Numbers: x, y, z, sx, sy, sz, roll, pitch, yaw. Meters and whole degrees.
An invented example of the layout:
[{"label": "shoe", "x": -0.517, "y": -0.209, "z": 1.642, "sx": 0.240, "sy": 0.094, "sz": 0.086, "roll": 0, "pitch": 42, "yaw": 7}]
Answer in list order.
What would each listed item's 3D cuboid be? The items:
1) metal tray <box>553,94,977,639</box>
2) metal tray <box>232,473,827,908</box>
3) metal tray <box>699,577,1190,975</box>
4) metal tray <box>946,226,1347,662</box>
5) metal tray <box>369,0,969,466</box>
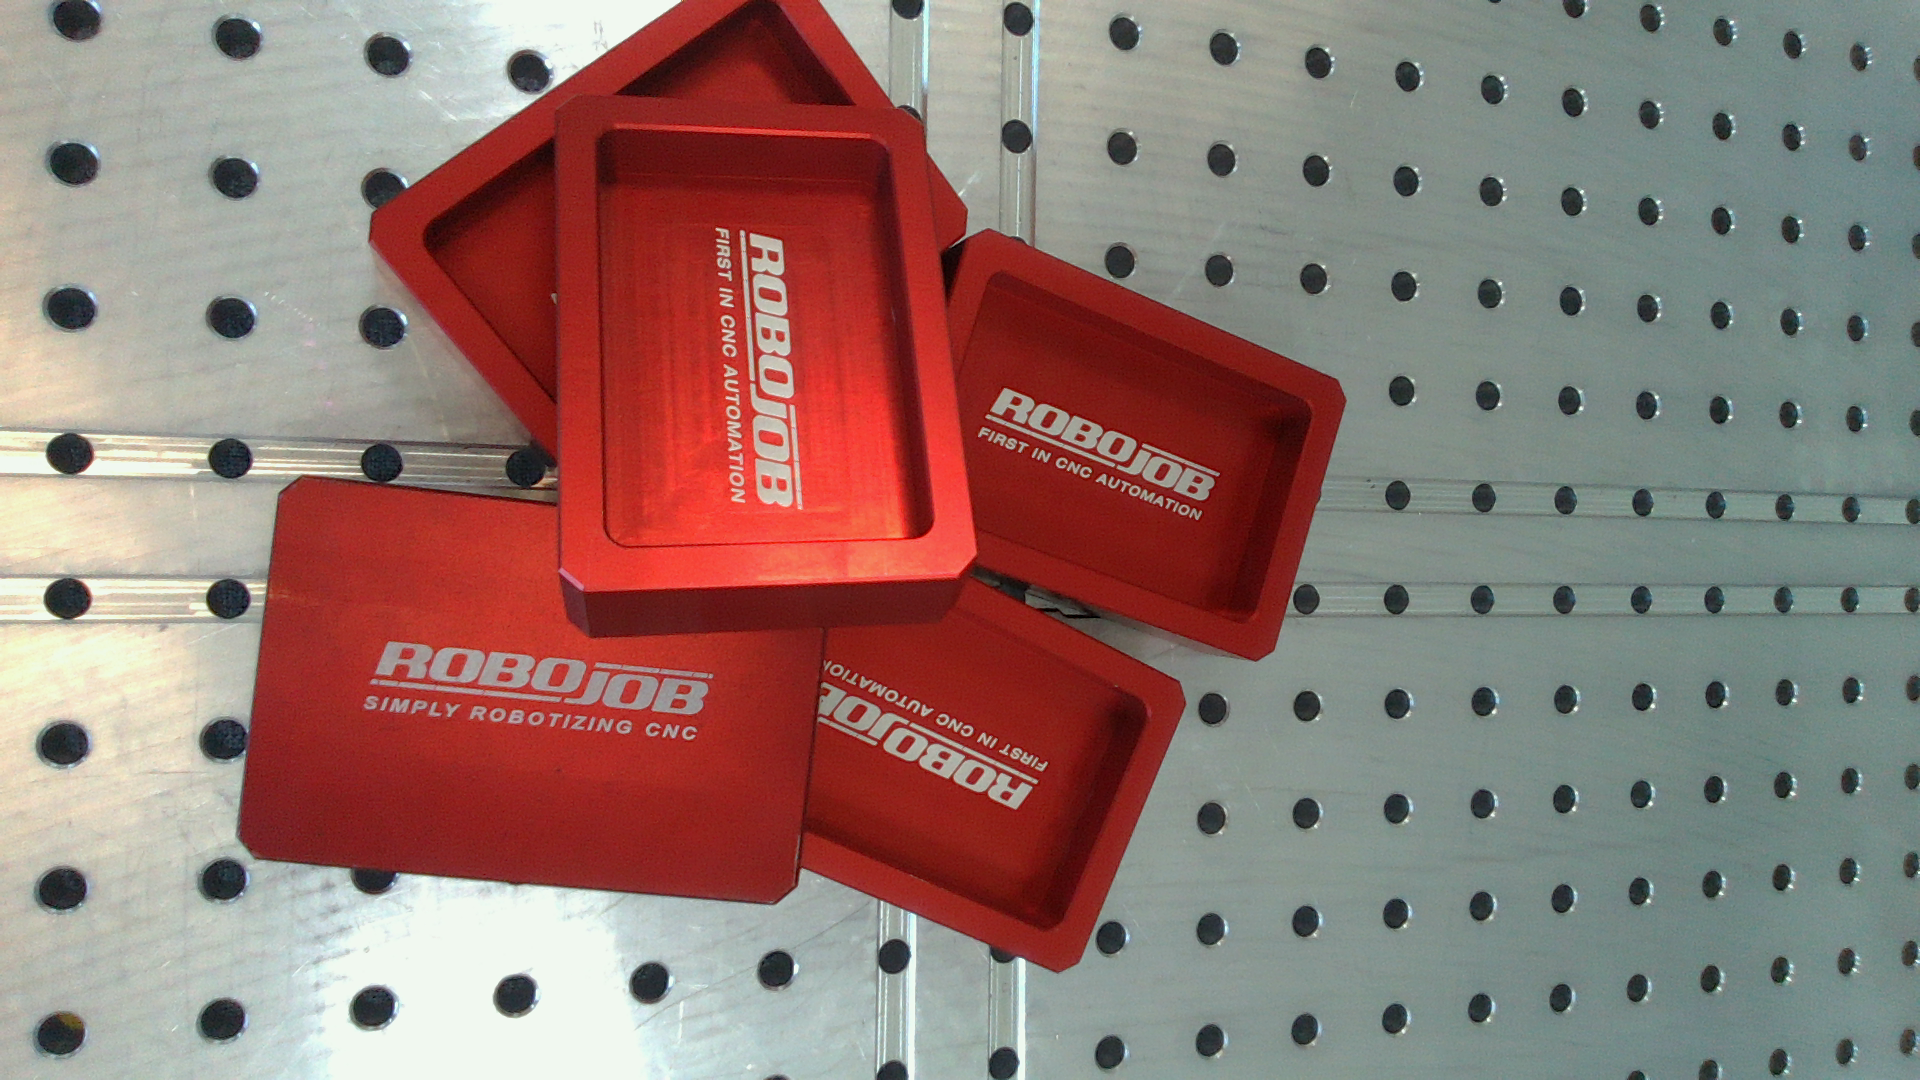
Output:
[{"label": "metal tray", "x": -0.050, "y": -0.044, "z": 0.330, "sx": 0.090, "sy": 0.030, "sz": 0.130, "roll": -2, "pitch": 67, "yaw": -13}, {"label": "metal tray", "x": -0.100, "y": 0.037, "z": 0.339, "sx": 0.130, "sy": 0.030, "sz": 0.090, "roll": 7, "pitch": 88, "yaw": -6}, {"label": "metal tray", "x": -0.009, "y": 0.056, "z": 0.389, "sx": 0.130, "sy": 0.030, "sz": 0.090, "roll": 27, "pitch": 82, "yaw": -18}, {"label": "metal tray", "x": 0.043, "y": -0.025, "z": 0.408, "sx": 0.130, "sy": 0.030, "sz": 0.090, "roll": 19, "pitch": 84, "yaw": -19}, {"label": "metal tray", "x": -0.074, "y": -0.081, "z": 0.365, "sx": 0.130, "sy": 0.030, "sz": 0.090, "roll": -41, "pitch": 102, "yaw": -15}]
